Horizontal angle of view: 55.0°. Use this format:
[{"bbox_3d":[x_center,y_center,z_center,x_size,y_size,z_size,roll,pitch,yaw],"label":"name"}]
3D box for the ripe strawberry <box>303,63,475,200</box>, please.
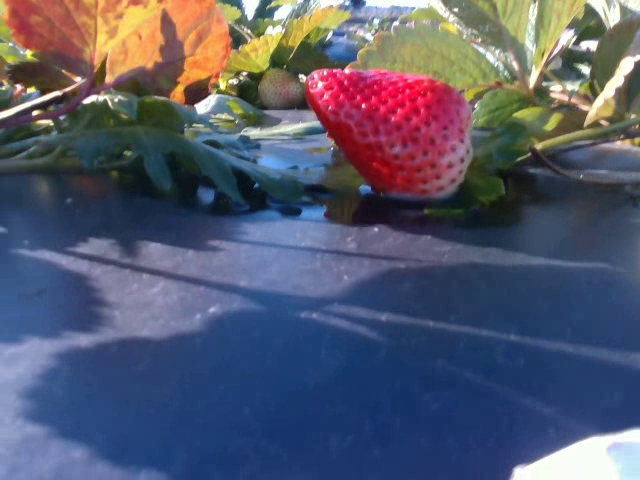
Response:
[{"bbox_3d":[0.017,-0.029,0.155,0.053,0.043,0.036,23,-35,-5],"label":"ripe strawberry"}]
